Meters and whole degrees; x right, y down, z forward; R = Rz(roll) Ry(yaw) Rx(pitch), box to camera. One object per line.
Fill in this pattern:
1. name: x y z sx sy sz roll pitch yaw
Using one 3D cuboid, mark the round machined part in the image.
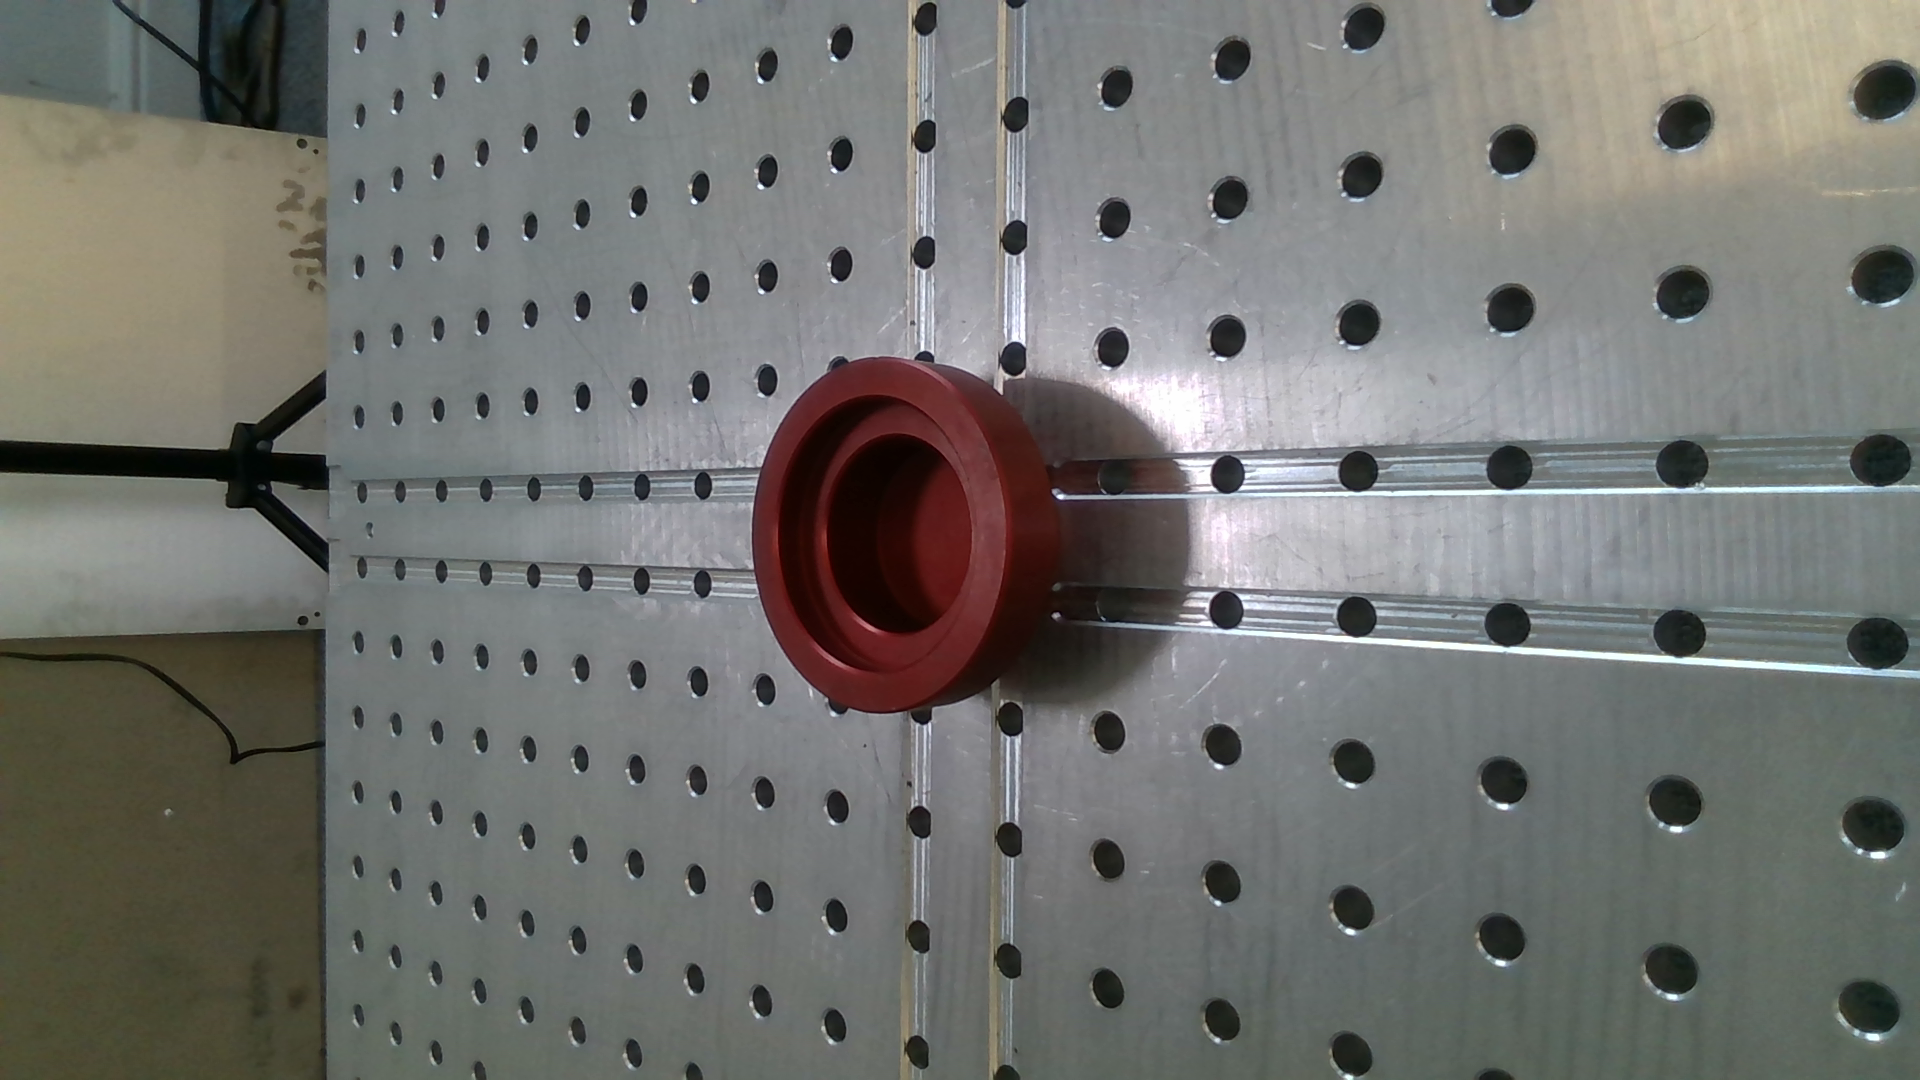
1. round machined part: -0.012 -0.002 0.392 0.098 0.042 0.098 0 91 40
